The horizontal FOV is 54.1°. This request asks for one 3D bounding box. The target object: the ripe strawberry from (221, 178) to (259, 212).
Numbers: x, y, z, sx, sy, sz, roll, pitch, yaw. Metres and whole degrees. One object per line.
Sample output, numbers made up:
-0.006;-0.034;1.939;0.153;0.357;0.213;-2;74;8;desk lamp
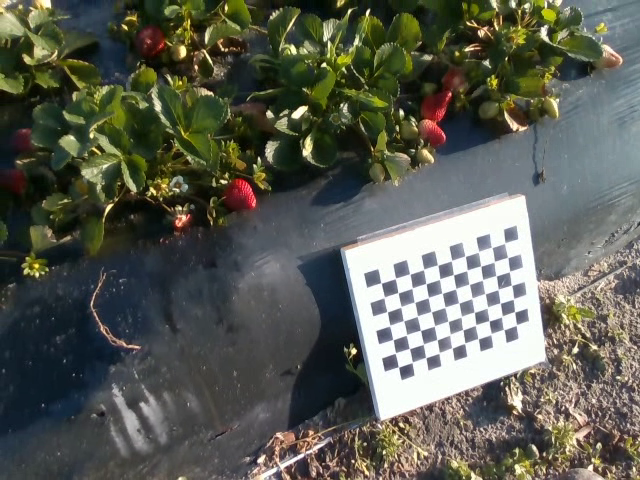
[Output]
-0.108;-0.058;0.848;0.051;0.052;0.041;39;-7;38;ripe strawberry
